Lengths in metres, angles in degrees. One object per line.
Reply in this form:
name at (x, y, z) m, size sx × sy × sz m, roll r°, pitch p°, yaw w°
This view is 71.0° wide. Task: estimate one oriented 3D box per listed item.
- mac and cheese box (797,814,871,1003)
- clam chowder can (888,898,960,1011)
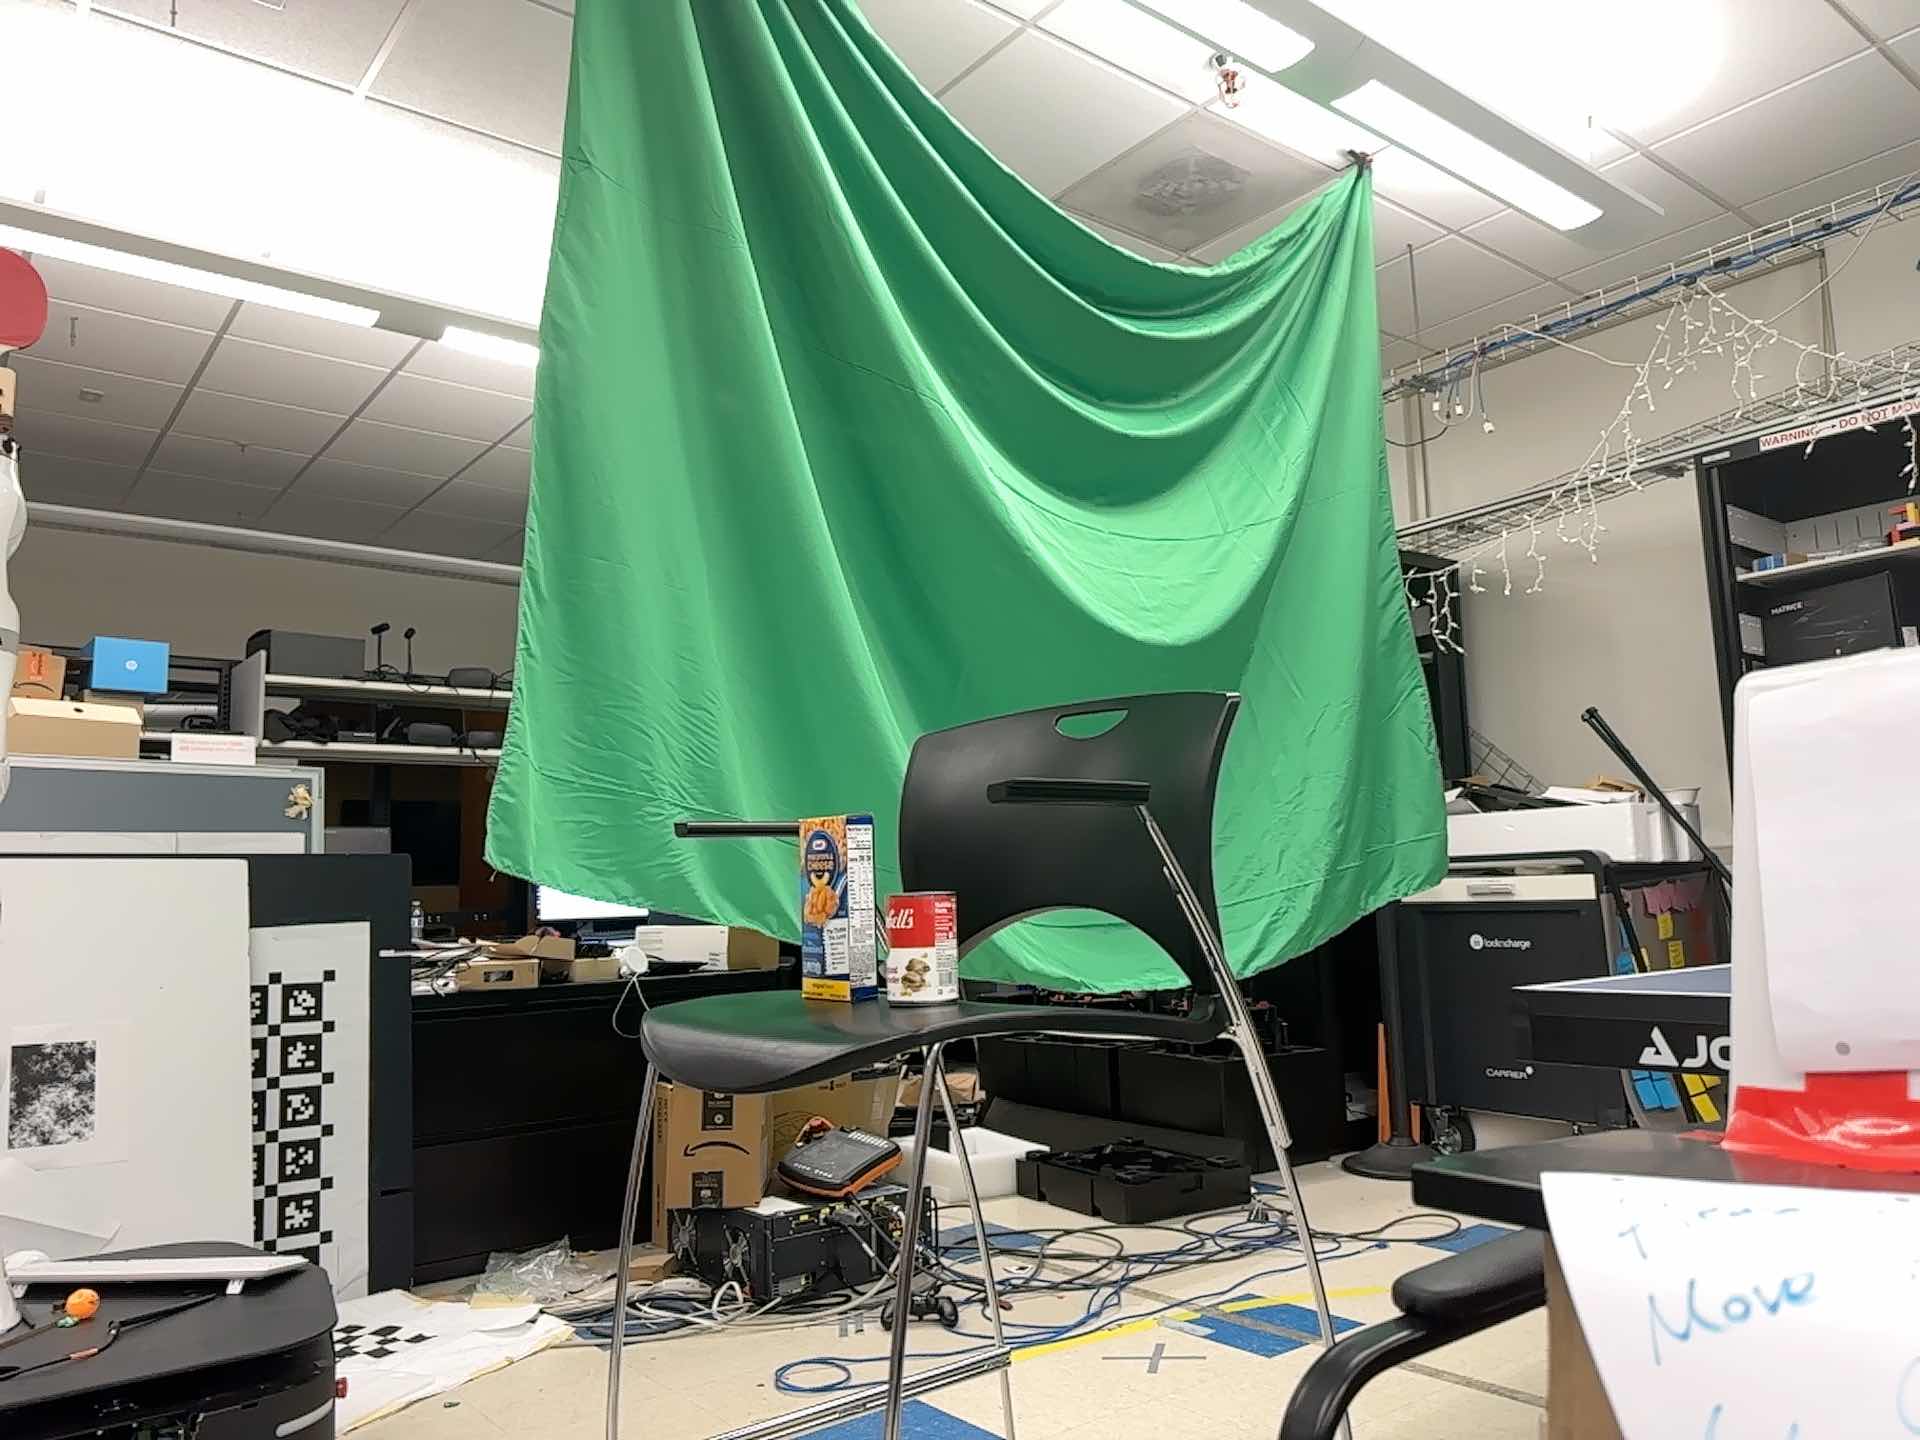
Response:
mac and cheese box at (-0.130, 0.190, 1.372) m, size 0.035 × 0.181 × 0.088 m, roll 1°, pitch -6°, yaw -33°
clam chowder can at (-0.034, 0.219, 1.271) m, size 0.068 × 0.102 × 0.068 m, roll -1°, pitch -7°, yaw 0°
